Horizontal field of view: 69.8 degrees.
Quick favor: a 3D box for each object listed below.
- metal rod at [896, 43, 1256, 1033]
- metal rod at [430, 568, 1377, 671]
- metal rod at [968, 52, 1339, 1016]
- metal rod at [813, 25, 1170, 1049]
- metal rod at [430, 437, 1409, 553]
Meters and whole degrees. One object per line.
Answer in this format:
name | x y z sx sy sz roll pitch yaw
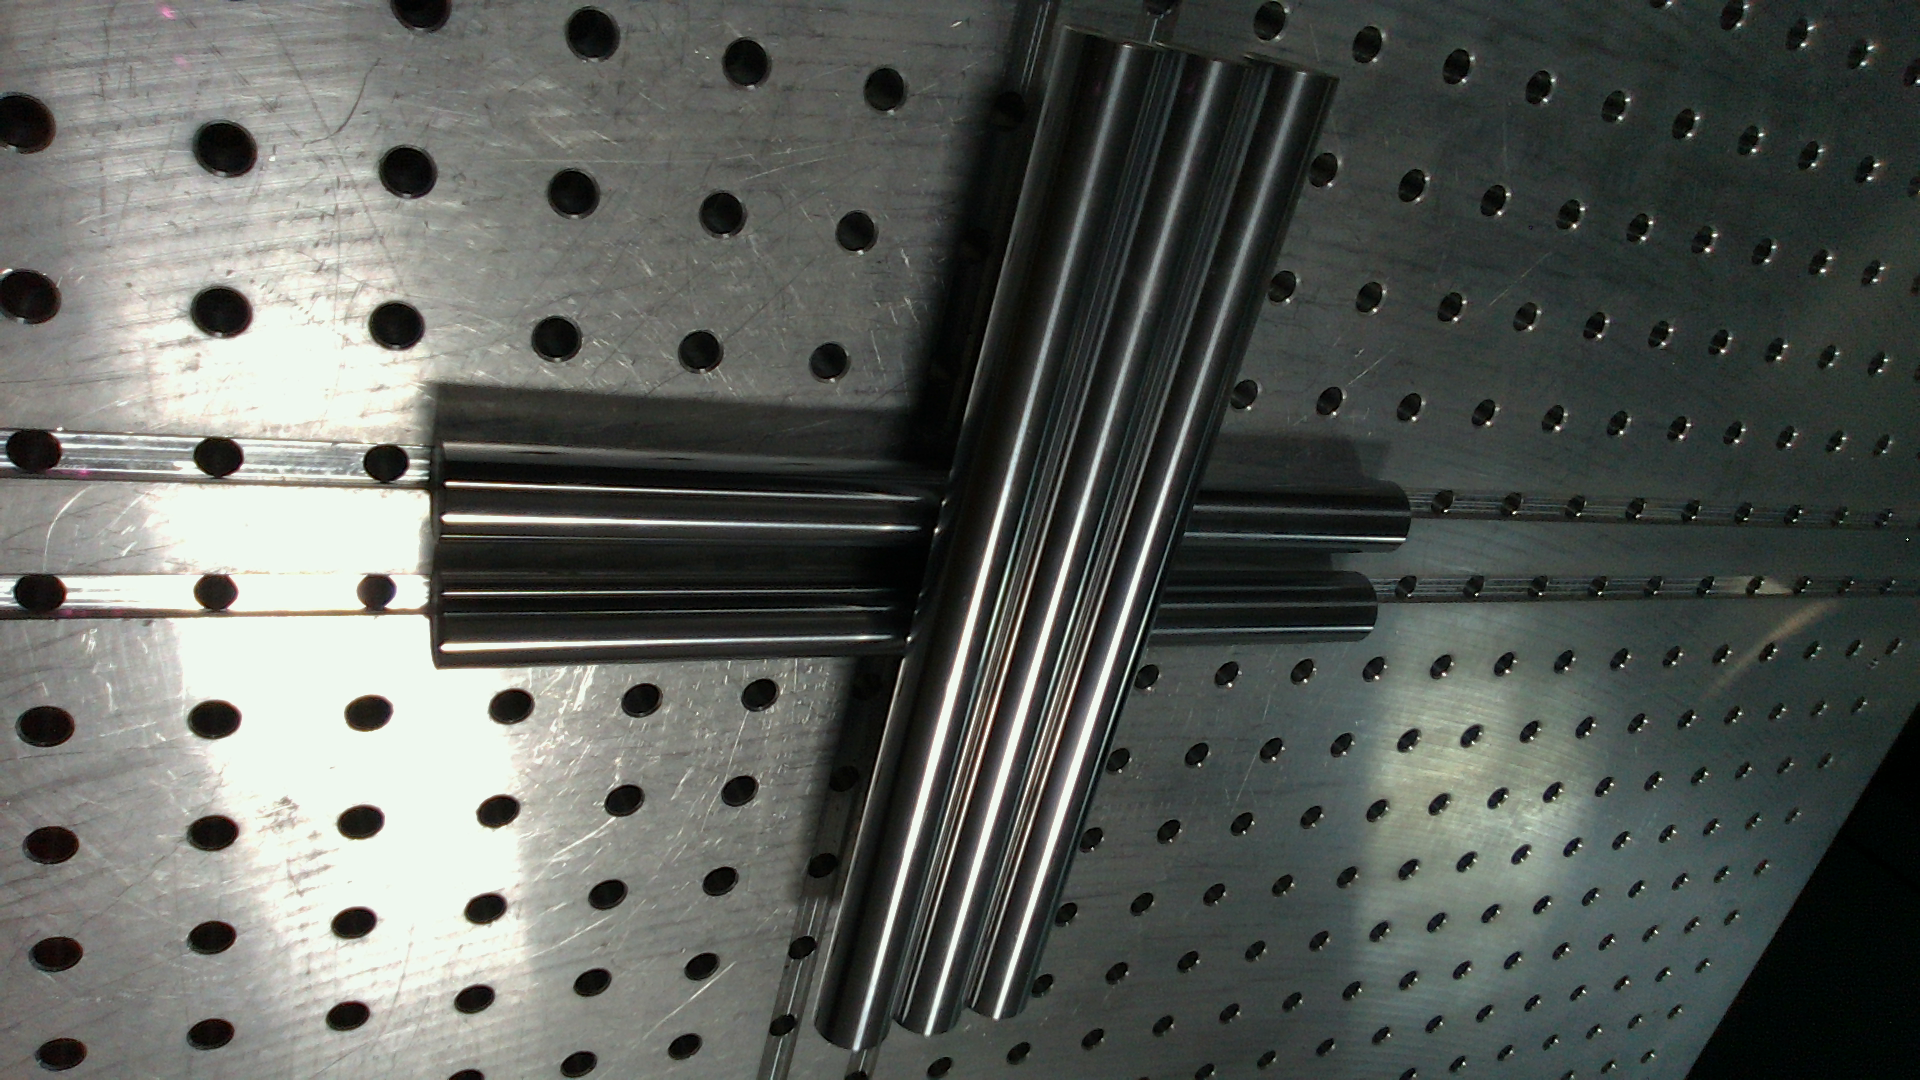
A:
metal rod | 0.023 0.018 0.384 0.025 0.025 0.300 0 118 -28
metal rod | 0.004 0.021 0.408 0.301 0.025 0.025 1 118 -29
metal rod | 0.045 0.017 0.395 0.025 0.025 0.300 0 118 -28
metal rod | 0.001 0.019 0.372 0.025 0.025 0.300 0 118 -28
metal rod | 0.010 -0.010 0.392 0.301 0.025 0.025 1 118 -29
